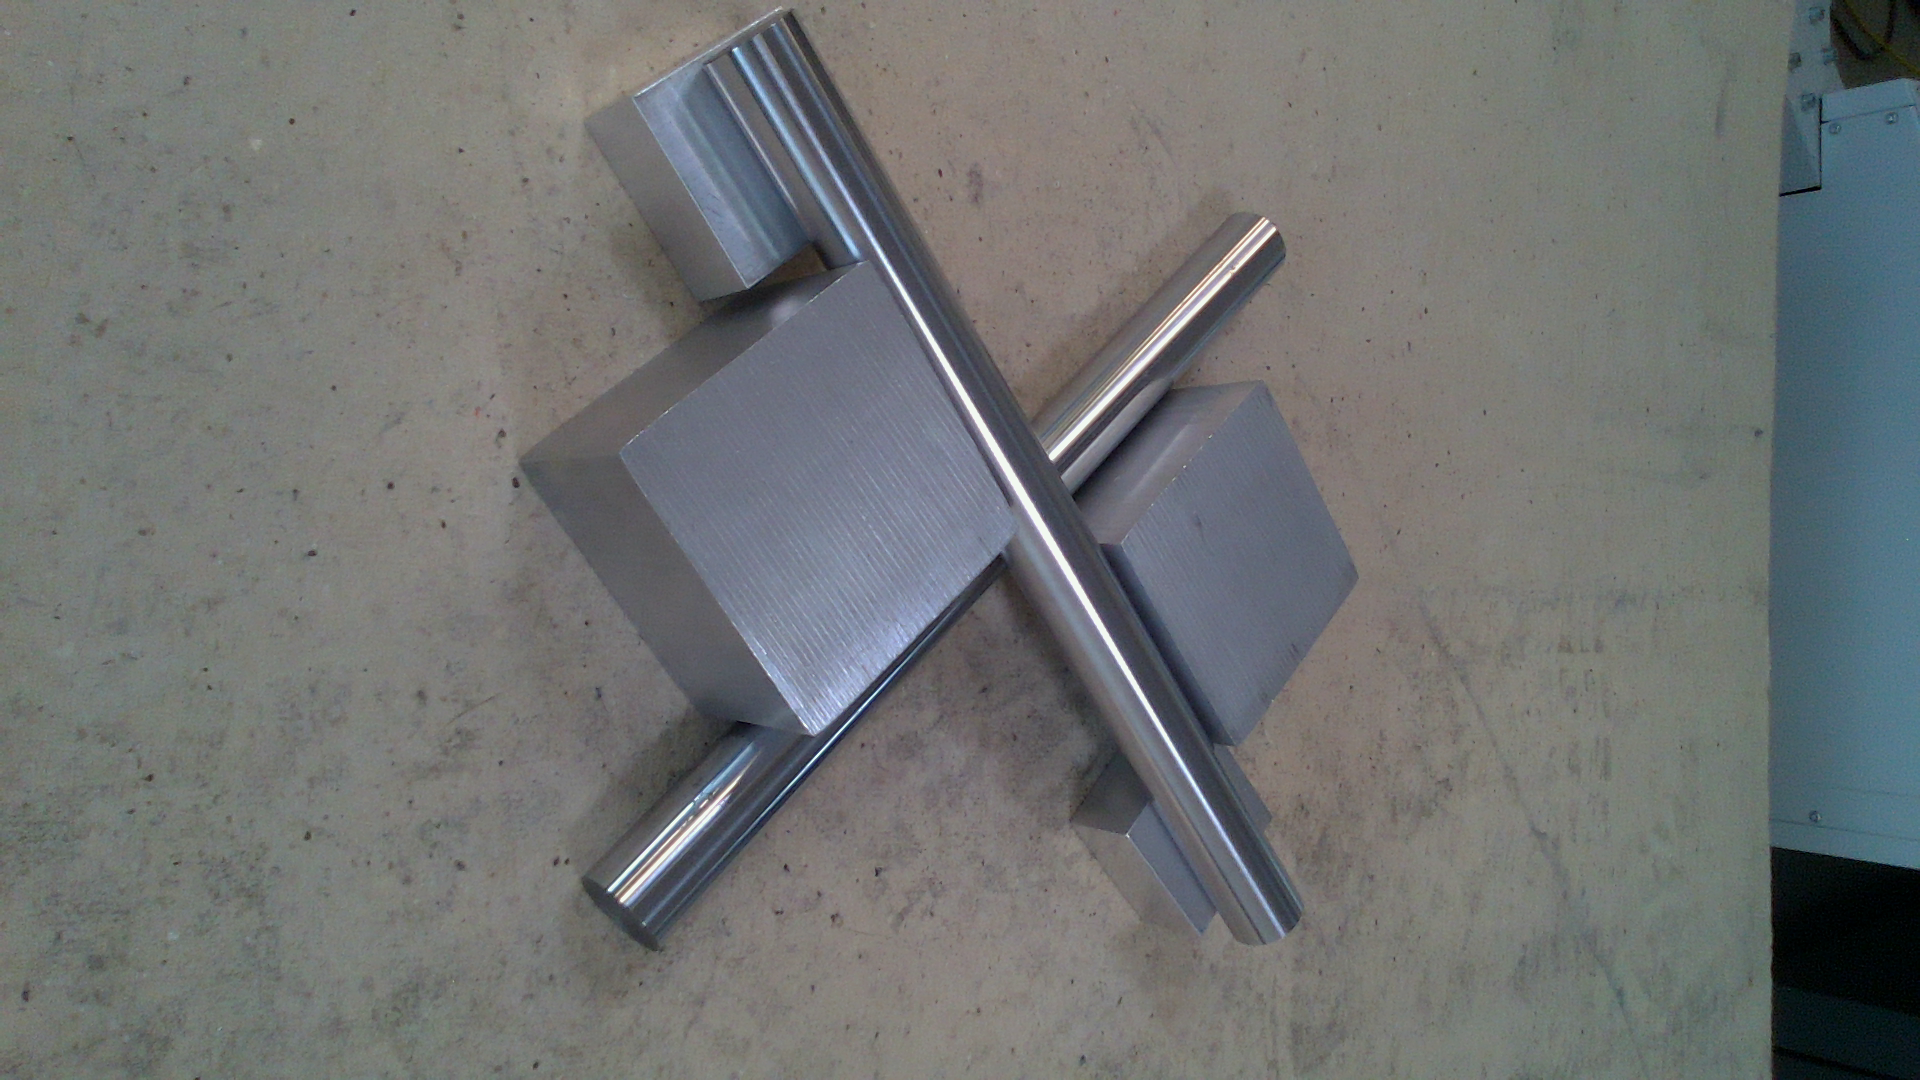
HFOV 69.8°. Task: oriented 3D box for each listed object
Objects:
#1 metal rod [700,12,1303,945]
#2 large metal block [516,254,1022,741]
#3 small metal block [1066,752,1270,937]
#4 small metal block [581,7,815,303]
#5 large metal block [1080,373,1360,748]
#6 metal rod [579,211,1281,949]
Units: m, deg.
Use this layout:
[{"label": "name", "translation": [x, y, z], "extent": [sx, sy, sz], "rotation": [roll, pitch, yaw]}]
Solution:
[{"label": "metal rod", "translation": [0.024, 0.002, 0.376], "extent": [0.025, 0.025, 0.300], "rotation": [-47, 118, -30]}, {"label": "large metal block", "translation": [-0.043, -0.011, 0.334], "extent": [0.080, 0.050, 0.080], "rotation": [-45, 117, -31]}, {"label": "small metal block", "translation": [0.069, 0.091, 0.447], "extent": [0.050, 0.025, 0.050], "rotation": [-51, 120, -28]}, {"label": "small metal block", "translation": [-0.056, -0.095, 0.343], "extent": [0.050, 0.025, 0.050], "rotation": [-45, 117, -31]}, {"label": "large metal block", "translation": [0.071, 0.006, 0.432], "extent": [0.080, 0.050, 0.080], "rotation": [-47, 118, -30]}, {"label": "metal rod", "translation": [0.009, -0.007, 0.398], "extent": [0.301, 0.025, 0.025], "rotation": [-47, 118, -30]}]
